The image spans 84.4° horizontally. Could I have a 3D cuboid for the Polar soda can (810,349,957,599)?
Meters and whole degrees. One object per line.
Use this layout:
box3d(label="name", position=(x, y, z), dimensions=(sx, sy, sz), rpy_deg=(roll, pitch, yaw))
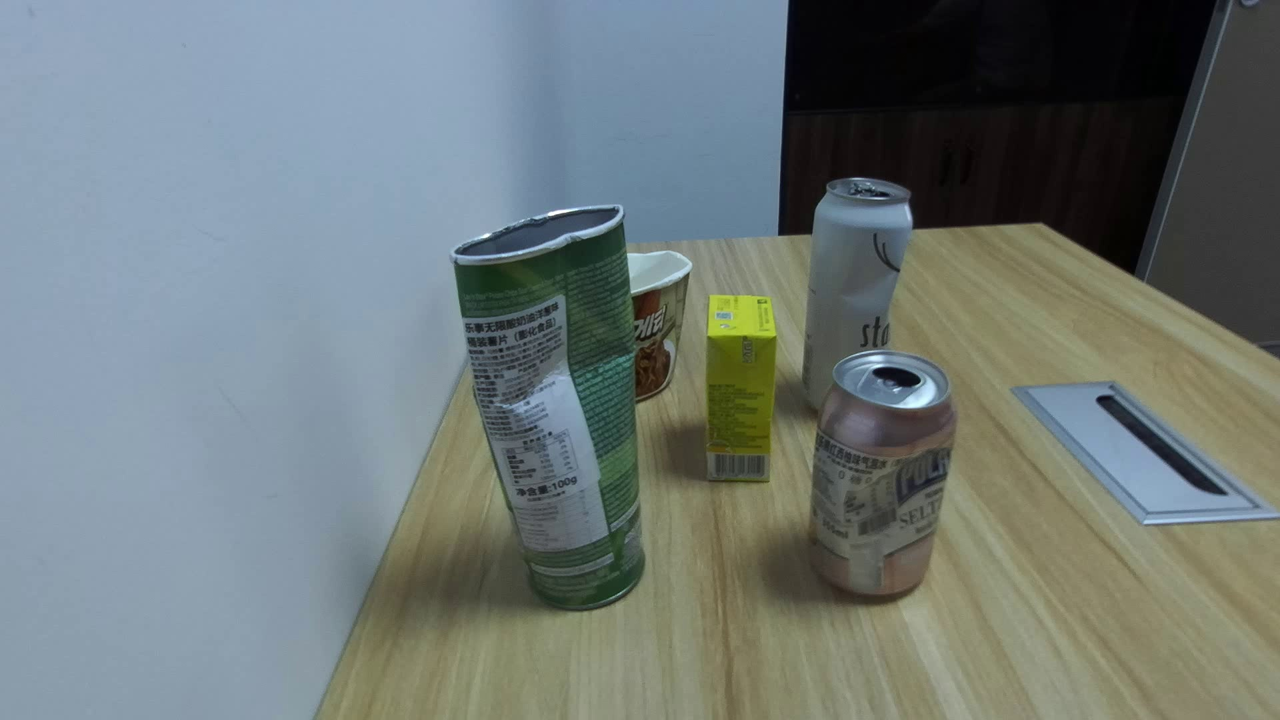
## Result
box3d(label="Polar soda can", position=(0.126, 0.060, 0.367), dimensions=(0.074, 0.122, 0.067), rpy_deg=(0, 31, 7))

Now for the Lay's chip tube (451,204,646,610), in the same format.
box3d(label="Lay's chip tube", position=(-0.036, 0.031, 0.361), dimensions=(0.069, 0.200, 0.075), rpy_deg=(-1, 27, 6))

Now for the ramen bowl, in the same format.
box3d(label="ramen bowl", position=(-0.018, -0.032, 0.581), dimensions=(0.134, 0.097, 0.113), rpy_deg=(-10, 30, -12))

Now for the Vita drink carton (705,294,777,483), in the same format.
box3d(label="Vita drink carton", position=(0.066, 0.016, 0.468), dimensions=(0.043, 0.109, 0.076), rpy_deg=(0, 29, 8))

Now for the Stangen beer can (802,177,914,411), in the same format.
box3d(label="Stangen beer can", position=(0.157, -0.043, 0.507), dimensions=(0.070, 0.173, 0.069), rpy_deg=(-25, 37, -33))
